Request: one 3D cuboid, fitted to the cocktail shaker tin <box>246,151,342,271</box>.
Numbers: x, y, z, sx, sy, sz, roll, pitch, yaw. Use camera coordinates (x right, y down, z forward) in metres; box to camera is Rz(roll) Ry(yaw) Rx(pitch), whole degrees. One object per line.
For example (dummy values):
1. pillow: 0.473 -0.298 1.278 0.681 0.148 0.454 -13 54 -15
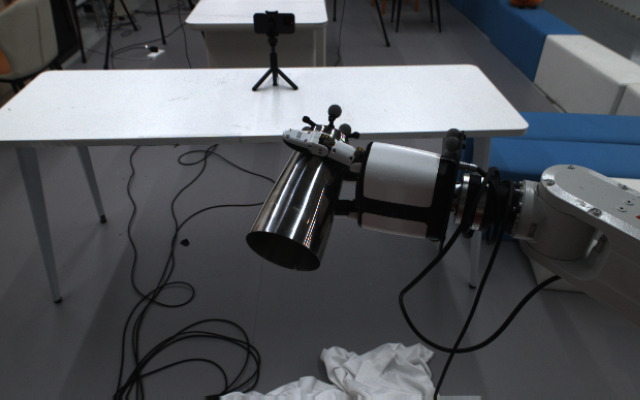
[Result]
1. cocktail shaker tin: -0.017 -0.011 0.599 0.093 0.093 0.170 13 59 16
